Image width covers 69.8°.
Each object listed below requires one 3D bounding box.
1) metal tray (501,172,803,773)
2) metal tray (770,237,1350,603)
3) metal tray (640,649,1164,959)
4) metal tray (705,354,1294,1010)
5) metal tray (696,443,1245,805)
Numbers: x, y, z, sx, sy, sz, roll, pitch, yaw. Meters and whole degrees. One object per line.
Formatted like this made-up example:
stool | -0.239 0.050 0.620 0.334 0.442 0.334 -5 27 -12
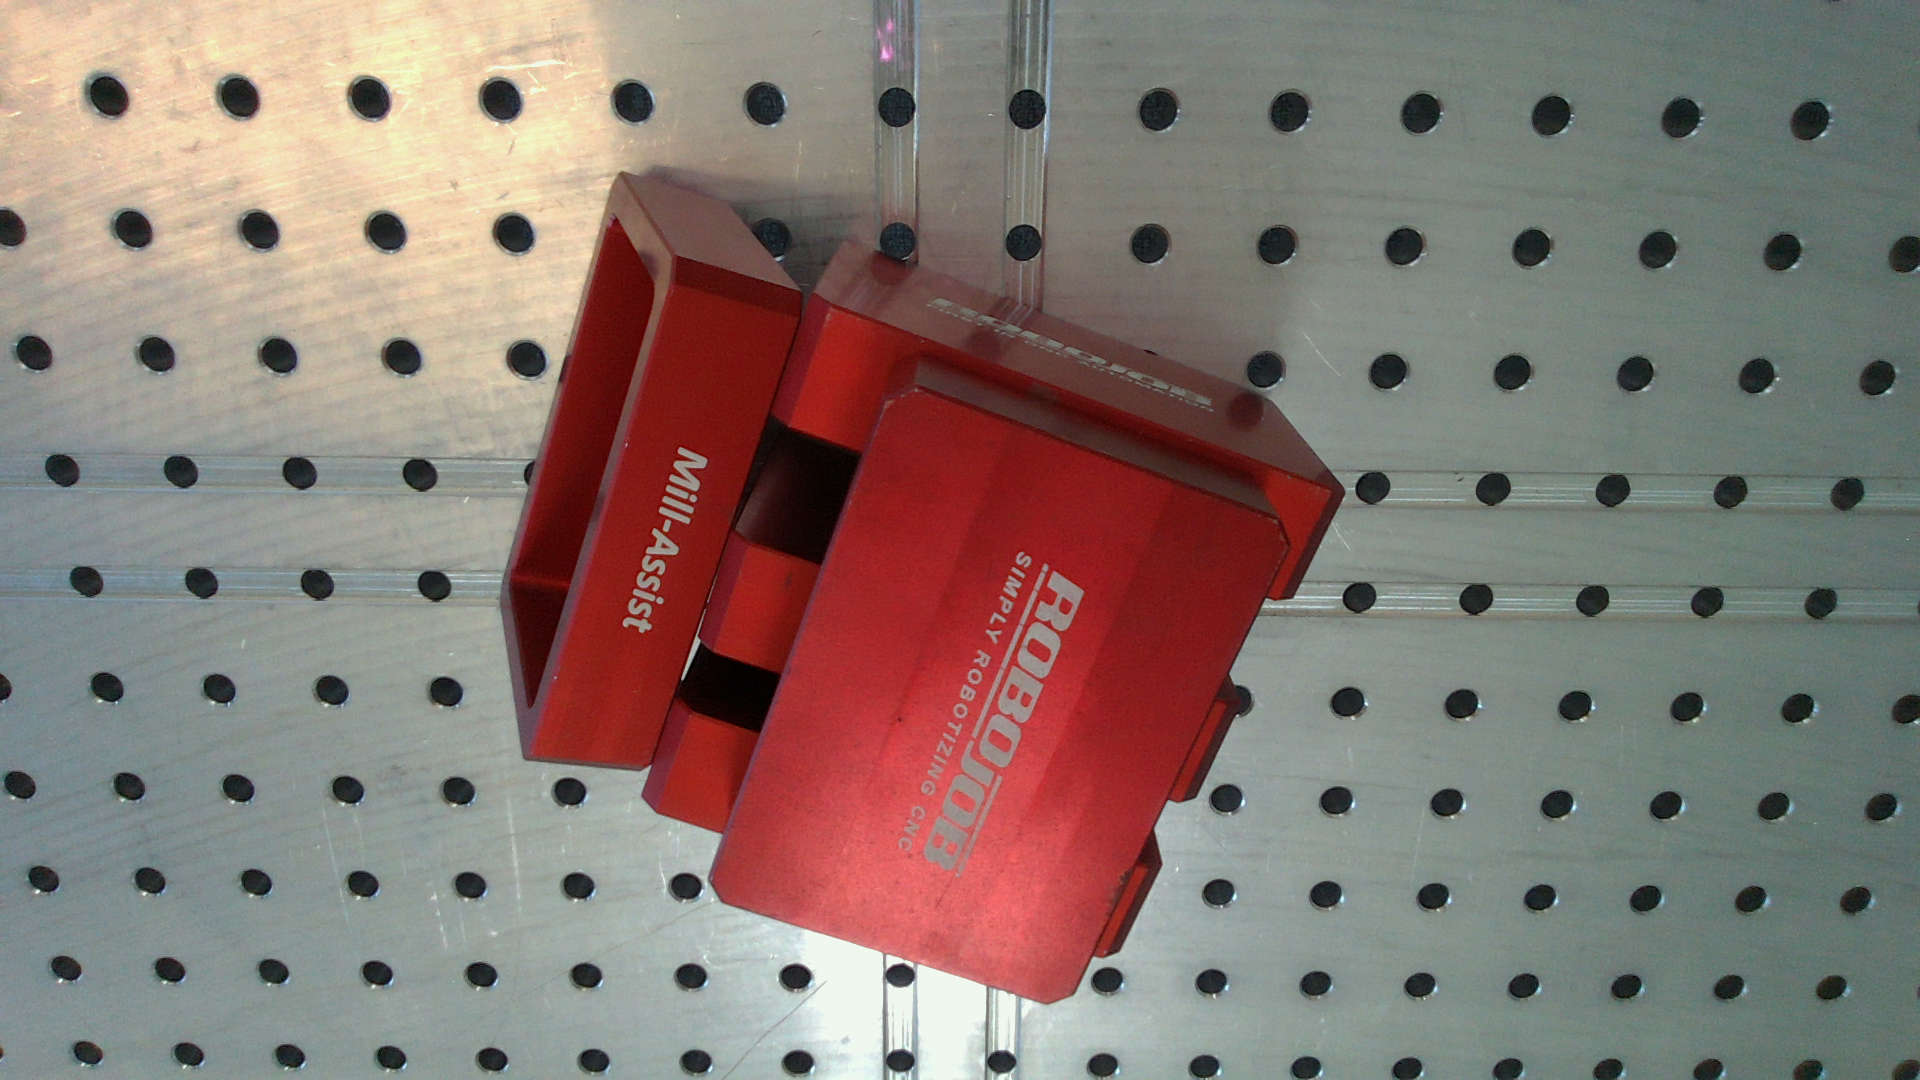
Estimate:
metal tray | -0.084 -0.018 0.352 0.030 0.090 0.130 12 111 -27
metal tray | 0.024 -0.034 0.348 0.130 0.090 0.030 20 110 -7
metal tray | -0.014 0.059 0.383 0.130 0.090 0.030 20 109 -8
metal tray | 0.006 0.035 0.310 0.090 0.030 0.130 19 109 -7
metal tray | 0.003 0.019 0.367 0.130 0.090 0.030 18 108 -8
